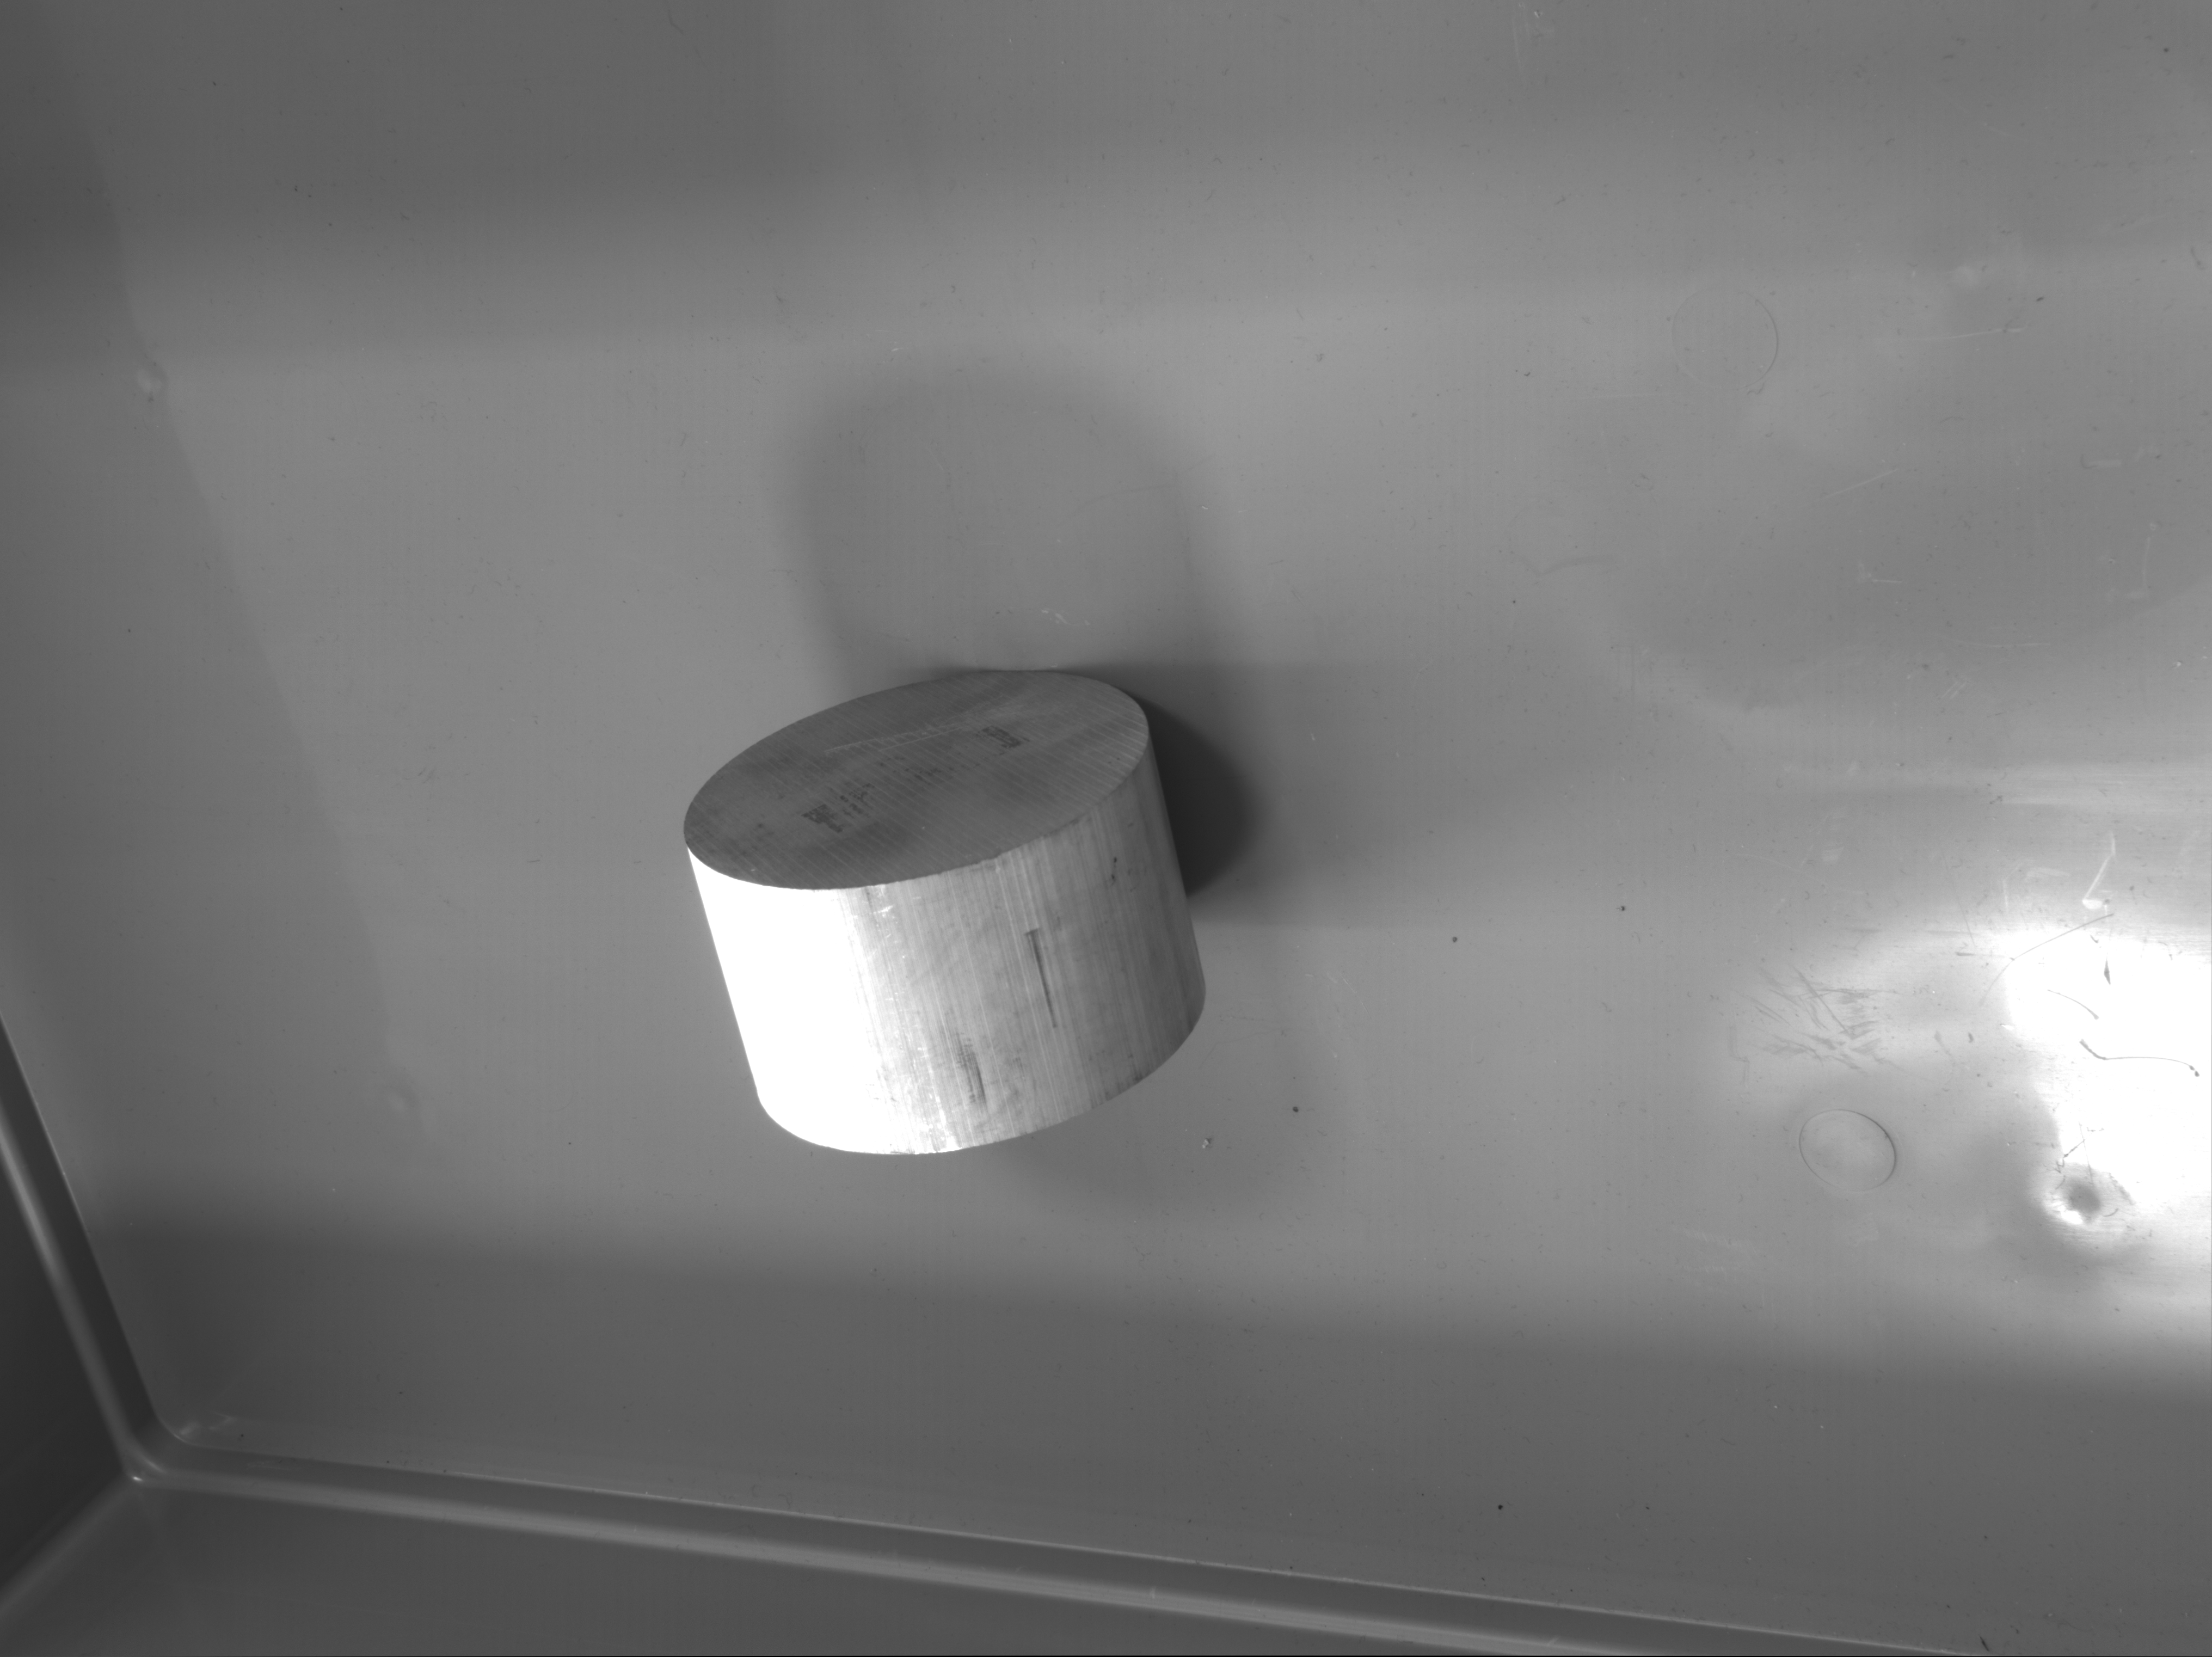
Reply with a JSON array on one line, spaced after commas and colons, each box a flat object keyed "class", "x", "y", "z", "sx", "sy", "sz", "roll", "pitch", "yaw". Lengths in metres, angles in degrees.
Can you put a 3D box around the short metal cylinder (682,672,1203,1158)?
[{"class": "short metal cylinder", "x": -0.027, "y": 0.013, "z": 0.627, "sx": 0.080, "sy": 0.080, "sz": 0.050, "roll": 2, "pitch": 119, "yaw": 28}]
